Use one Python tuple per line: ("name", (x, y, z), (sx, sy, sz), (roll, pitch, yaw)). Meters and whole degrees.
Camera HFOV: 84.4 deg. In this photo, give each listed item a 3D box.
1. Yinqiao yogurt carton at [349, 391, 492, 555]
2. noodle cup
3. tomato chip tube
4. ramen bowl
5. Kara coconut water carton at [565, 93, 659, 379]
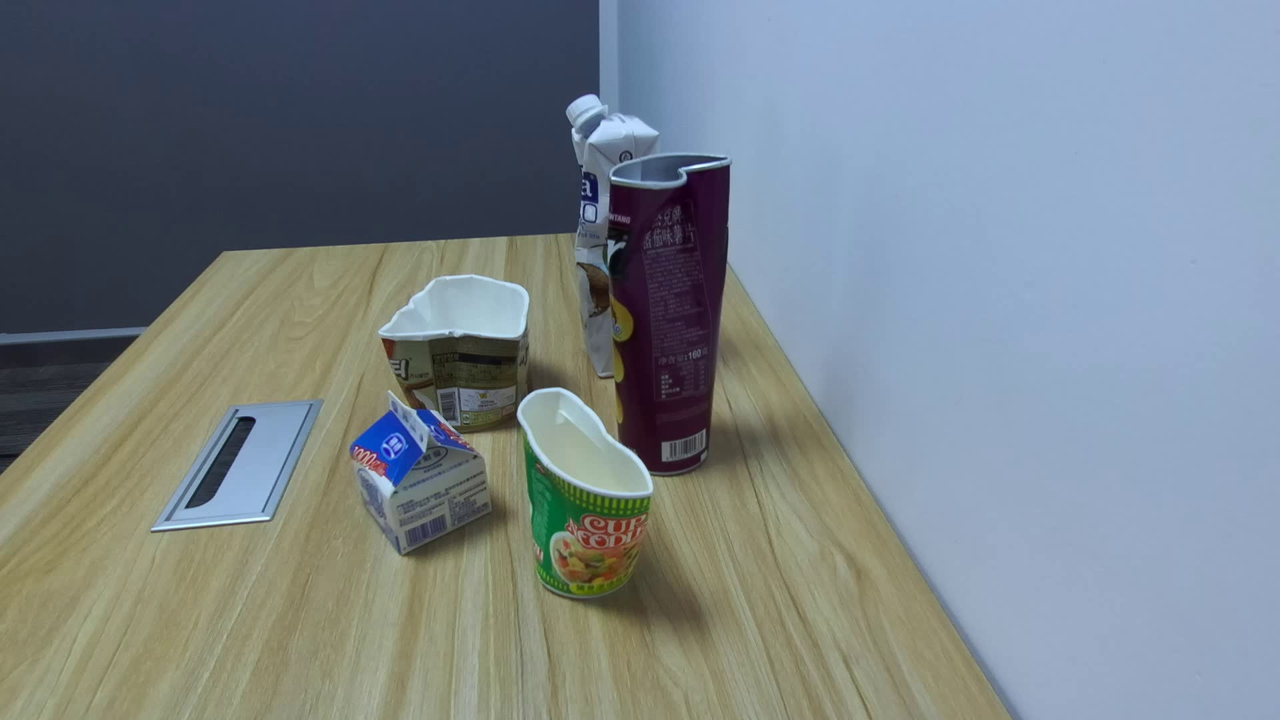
("Yinqiao yogurt carton", (-0.159, 0.071, 0.505), (0.074, 0.092, 0.075), (-23, 37, -32))
("noodle cup", (-0.035, 0.088, 0.450), (0.070, 0.111, 0.114), (-6, 31, -8))
("tomato chip tube", (0.021, -0.027, 0.526), (0.077, 0.235, 0.076), (8, 31, 13))
("ramen bowl", (-0.156, -0.012, 0.636), (0.114, 0.098, 0.133), (-4, 32, -3))
("Kara coconut water carton", (-0.016, -0.108, 0.646), (0.078, 0.256, 0.083), (-3, 29, 2))
